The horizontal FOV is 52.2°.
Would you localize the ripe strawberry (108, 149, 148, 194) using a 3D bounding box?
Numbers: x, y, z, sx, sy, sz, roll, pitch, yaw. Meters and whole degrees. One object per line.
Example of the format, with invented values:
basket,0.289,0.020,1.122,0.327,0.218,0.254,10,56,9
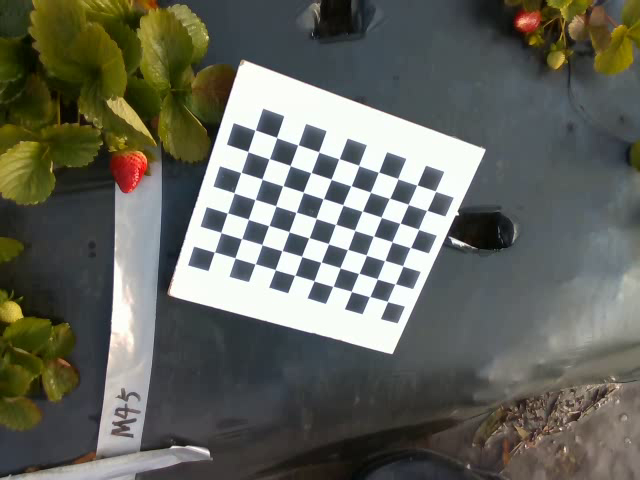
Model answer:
ripe strawberry,-0.186,-0.066,0.631,0.050,0.055,0.035,9,0,-19
